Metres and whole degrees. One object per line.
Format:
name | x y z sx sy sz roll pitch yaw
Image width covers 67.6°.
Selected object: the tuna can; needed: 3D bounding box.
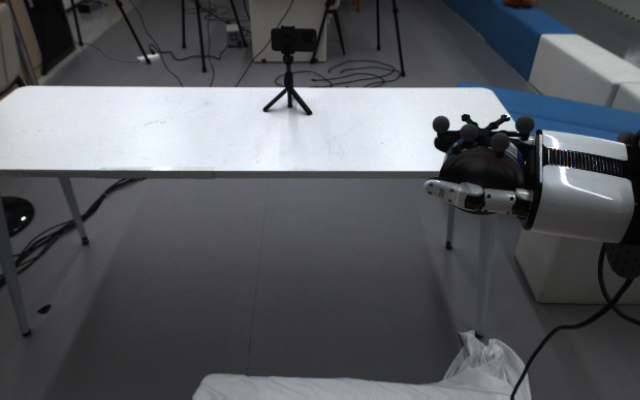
tuna can | 0.175 -0.031 0.519 0.085 0.085 0.034 14 41 16
